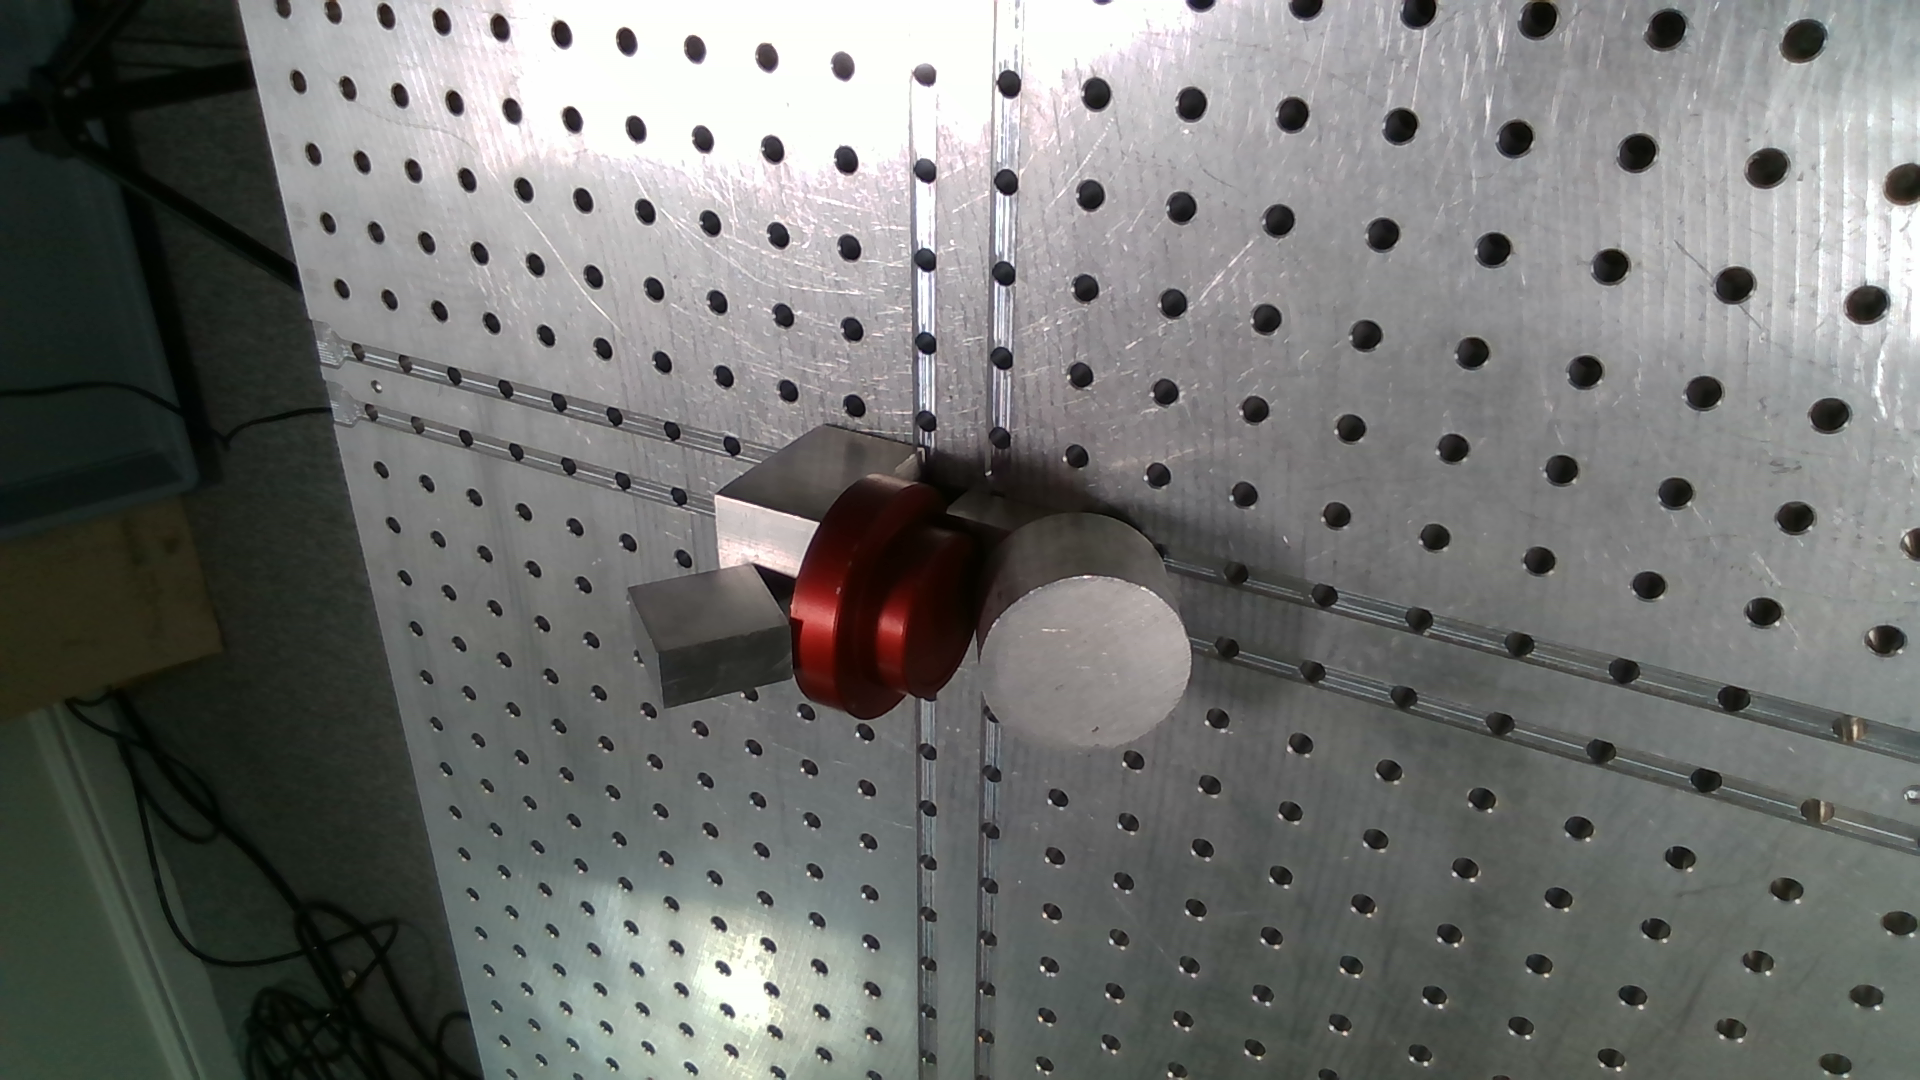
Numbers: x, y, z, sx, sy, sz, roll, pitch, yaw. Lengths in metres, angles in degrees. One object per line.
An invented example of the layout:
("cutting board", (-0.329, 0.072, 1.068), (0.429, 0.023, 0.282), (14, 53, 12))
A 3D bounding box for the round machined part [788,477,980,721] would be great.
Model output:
("round machined part", (-0.025, 0.026, 0.552), (0.042, 0.098, 0.098), (15, 122, 24))

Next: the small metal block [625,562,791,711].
("small metal block", (-0.097, 0.036, 0.529), (0.050, 0.050, 0.025), (-132, 36, -53))

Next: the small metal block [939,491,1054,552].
("small metal block", (0.019, 0.012, 0.577), (0.050, 0.025, 0.050), (15, 122, 24))

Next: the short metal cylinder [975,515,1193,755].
("short metal cylinder", (0.046, 0.036, 0.537), (0.080, 0.050, 0.080), (-1, 119, -2))

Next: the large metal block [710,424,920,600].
("large metal block", (-0.058, 0.006, 0.586), (0.050, 0.080, 0.080), (15, 122, 24))
